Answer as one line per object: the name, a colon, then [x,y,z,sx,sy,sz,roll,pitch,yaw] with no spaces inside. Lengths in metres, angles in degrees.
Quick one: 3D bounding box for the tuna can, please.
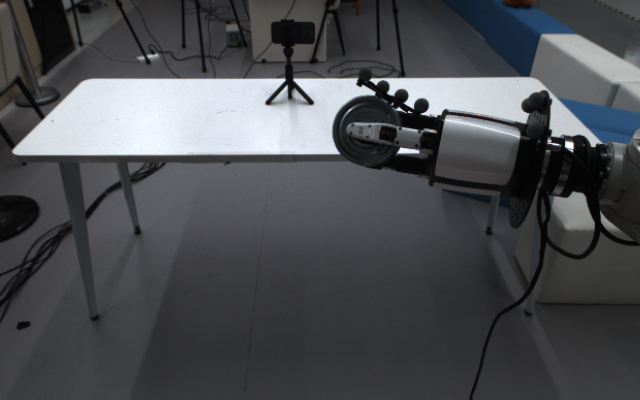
tuna can: [0.063,-0.079,0.594,0.085,0.085,0.034,12,4,15]
